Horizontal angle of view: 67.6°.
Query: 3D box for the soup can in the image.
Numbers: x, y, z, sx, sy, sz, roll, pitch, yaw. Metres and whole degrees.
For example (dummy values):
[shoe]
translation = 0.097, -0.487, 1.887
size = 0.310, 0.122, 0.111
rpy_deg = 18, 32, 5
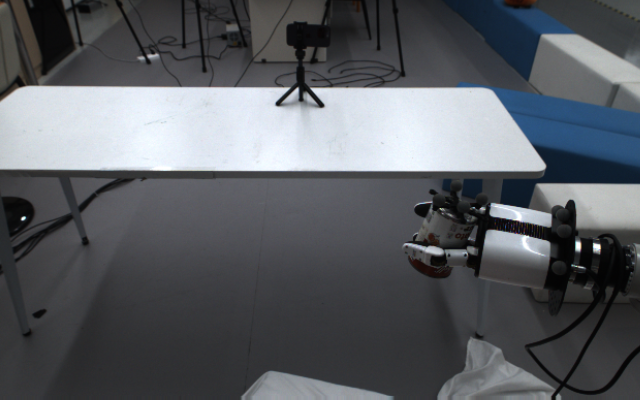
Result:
[soup can]
translation = 0.177, 0.052, 0.698
size = 0.067, 0.101, 0.067
rpy_deg = 13, 30, -8
